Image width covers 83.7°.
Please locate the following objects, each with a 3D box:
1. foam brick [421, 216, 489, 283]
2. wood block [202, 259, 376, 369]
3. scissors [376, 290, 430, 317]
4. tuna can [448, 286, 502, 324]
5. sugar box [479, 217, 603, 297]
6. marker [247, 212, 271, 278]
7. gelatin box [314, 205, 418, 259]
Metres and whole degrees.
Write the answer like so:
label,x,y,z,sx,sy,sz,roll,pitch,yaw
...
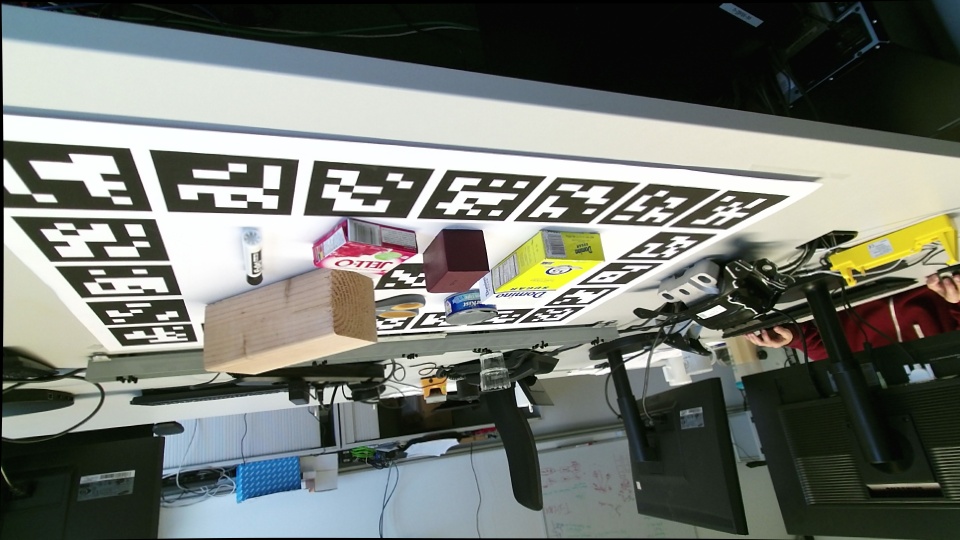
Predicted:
label,x,y,z,sx,sy,sz,roll,pitch,yaw
foam brick,-0.032,-0.024,0.637,0.053,0.051,0.078,-1,155,-26
wood block,-0.251,0.060,0.699,0.207,0.090,0.090,-18,158,19
scissors,-0.173,0.053,0.812,0.203,0.016,0.088,0,155,-32
tuna can,-0.008,0.058,0.871,0.086,0.033,0.086,-10,157,-4
sugar box,0.077,-0.012,0.740,0.093,0.045,0.176,2,154,-28
marker,-0.242,-0.023,0.583,0.020,0.019,0.121,-1,153,-25
gelatin box,-0.126,-0.039,0.592,0.090,0.030,0.073,9,150,-41
